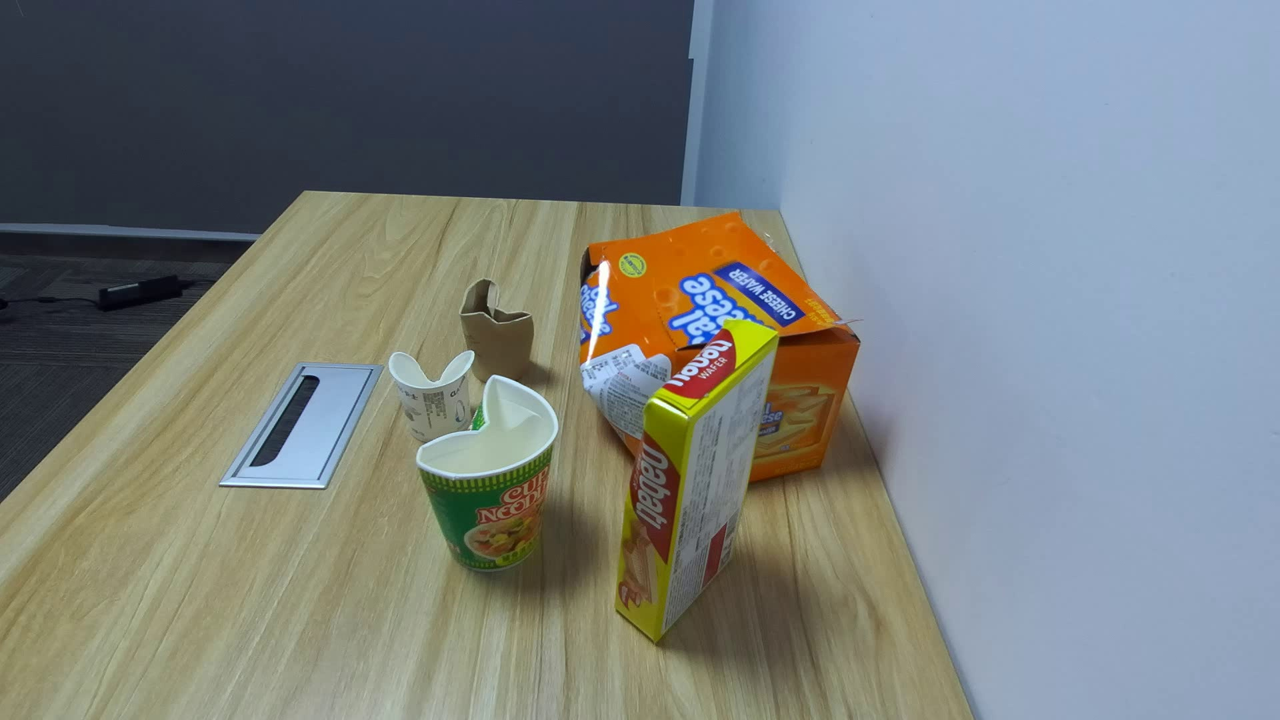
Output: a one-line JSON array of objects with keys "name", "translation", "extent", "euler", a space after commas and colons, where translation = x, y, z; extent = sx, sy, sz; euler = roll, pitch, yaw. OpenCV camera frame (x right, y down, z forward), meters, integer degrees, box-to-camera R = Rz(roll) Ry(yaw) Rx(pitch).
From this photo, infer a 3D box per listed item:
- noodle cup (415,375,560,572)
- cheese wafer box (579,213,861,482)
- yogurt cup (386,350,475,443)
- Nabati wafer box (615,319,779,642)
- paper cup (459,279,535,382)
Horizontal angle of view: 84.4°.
[{"name": "noodle cup", "translation": [-0.103, 0.086, 0.484], "extent": [0.086, 0.109, 0.094], "euler": [31, 45, 31]}, {"name": "cheese wafer box", "translation": [0.043, -0.014, 0.604], "extent": [0.192, 0.145, 0.218], "euler": [-11, 39, -19]}, {"name": "yogurt cup", "translation": [-0.169, 0.031, 0.590], "extent": [0.067, 0.070, 0.067], "euler": [2, 33, -1]}, {"name": "Nabati wafer box", "translation": [0.031, 0.076, 0.428], "extent": [0.042, 0.203, 0.097], "euler": [30, 46, 28]}, {"name": "paper cup", "translation": [-0.129, -0.025, 0.652], "extent": [0.058, 0.083, 0.066], "euler": [4, 38, -5]}]
